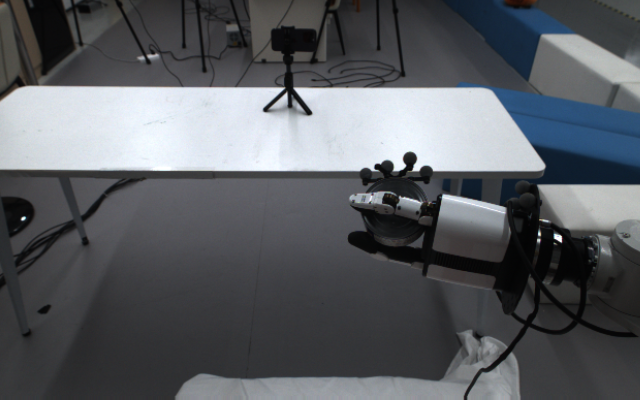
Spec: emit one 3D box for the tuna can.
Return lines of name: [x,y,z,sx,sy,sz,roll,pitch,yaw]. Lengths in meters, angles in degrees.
tuna can: [0.097,0.015,0.620,0.085,0.034,0.085,-6,61,10]
